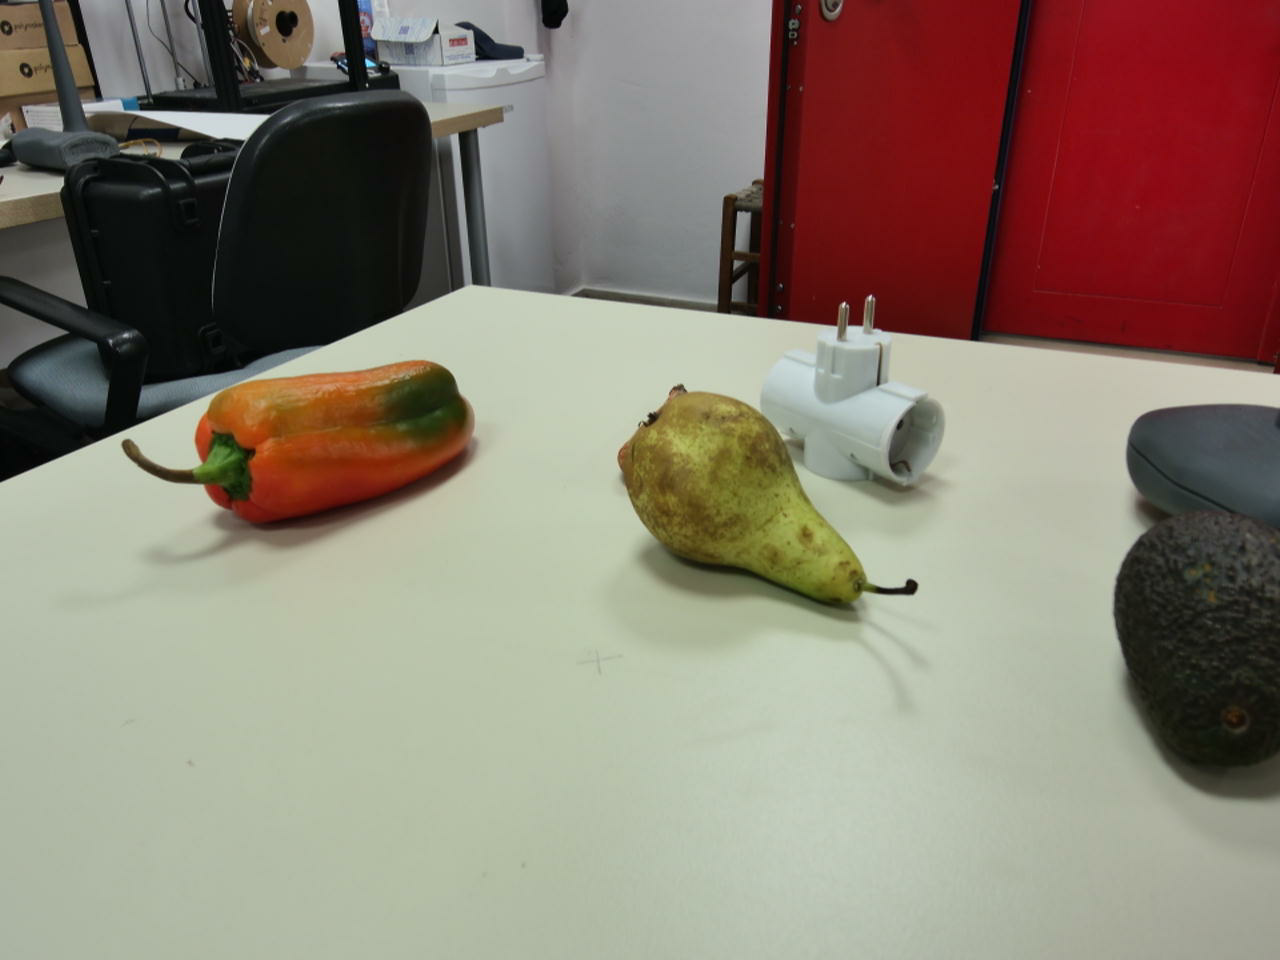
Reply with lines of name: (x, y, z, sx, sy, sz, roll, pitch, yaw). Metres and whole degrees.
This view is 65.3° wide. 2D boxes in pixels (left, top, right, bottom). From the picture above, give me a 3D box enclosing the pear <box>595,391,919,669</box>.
pear: (0.059, 0.006, 0.423, 0.144, 0.075, 0.071, 14, 28, 30)
